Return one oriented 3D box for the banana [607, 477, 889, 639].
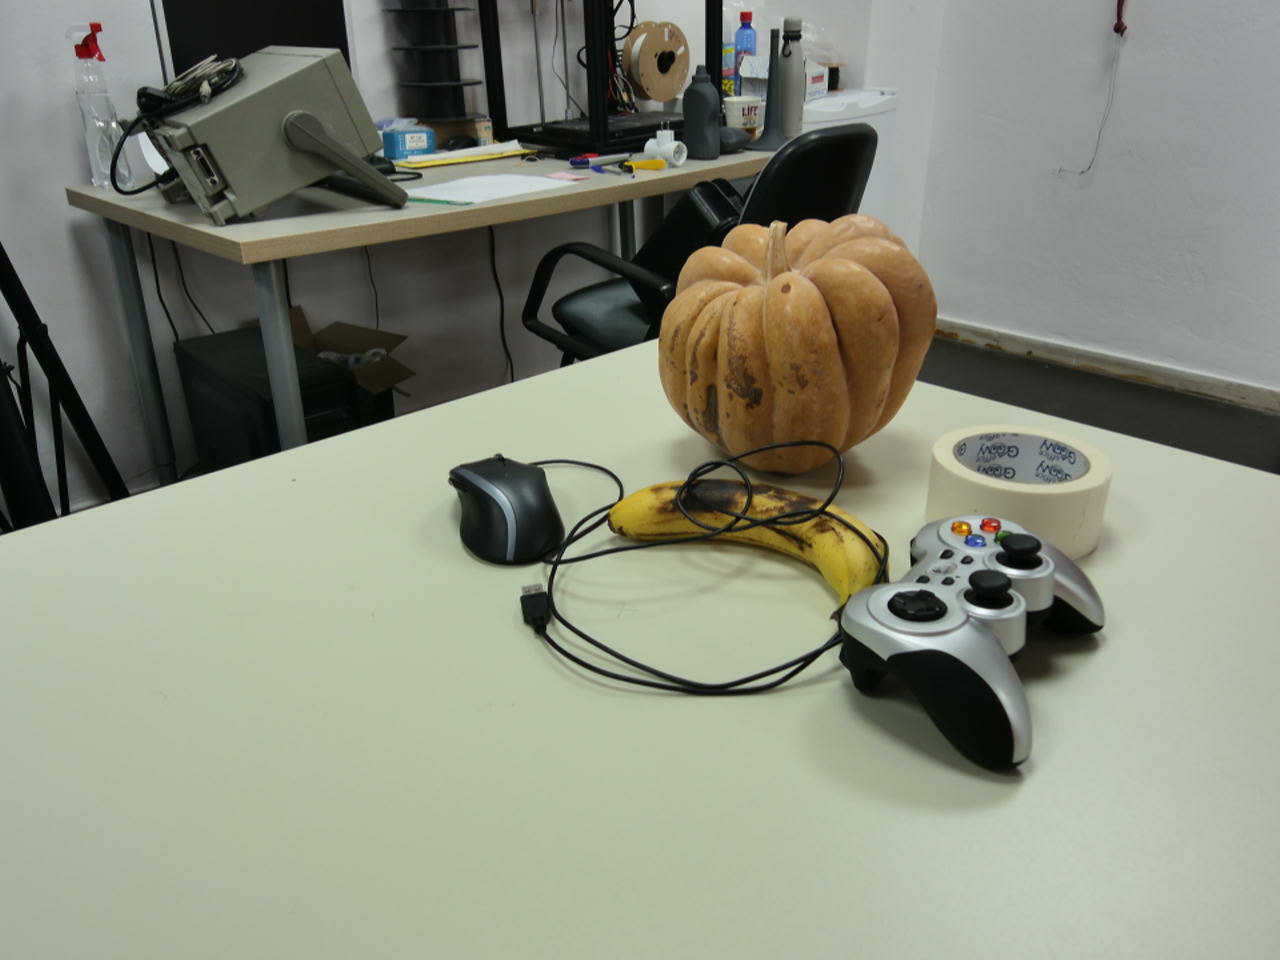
[{"bbox_3d":[0.075,0.034,0.604,0.094,0.039,0.187,-22,32,-39],"label":"banana"}]
